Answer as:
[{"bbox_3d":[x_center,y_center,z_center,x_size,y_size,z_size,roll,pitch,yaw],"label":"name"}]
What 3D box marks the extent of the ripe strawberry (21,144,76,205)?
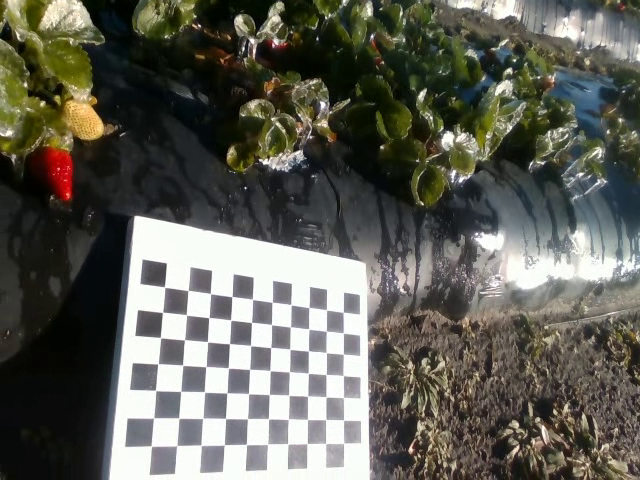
[{"bbox_3d":[-0.229,-0.060,0.541,0.041,0.052,0.040,-8,-16,-40],"label":"ripe strawberry"}]
